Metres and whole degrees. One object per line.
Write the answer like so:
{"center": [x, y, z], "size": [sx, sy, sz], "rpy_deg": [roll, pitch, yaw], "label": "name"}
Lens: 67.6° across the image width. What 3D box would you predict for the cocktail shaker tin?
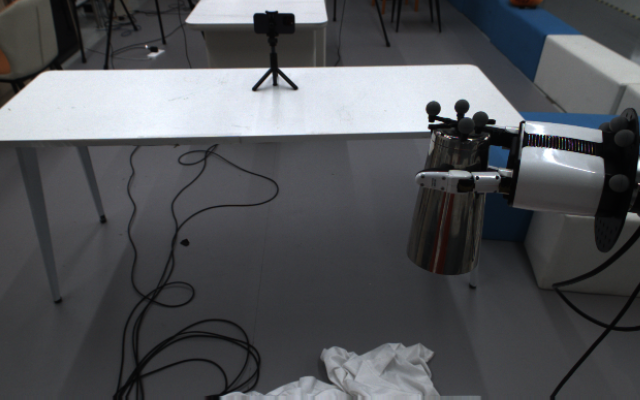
{"center": [0.165, -0.008, 0.603], "size": [0.093, 0.170, 0.093], "rpy_deg": [1, 27, -1], "label": "cocktail shaker tin"}
